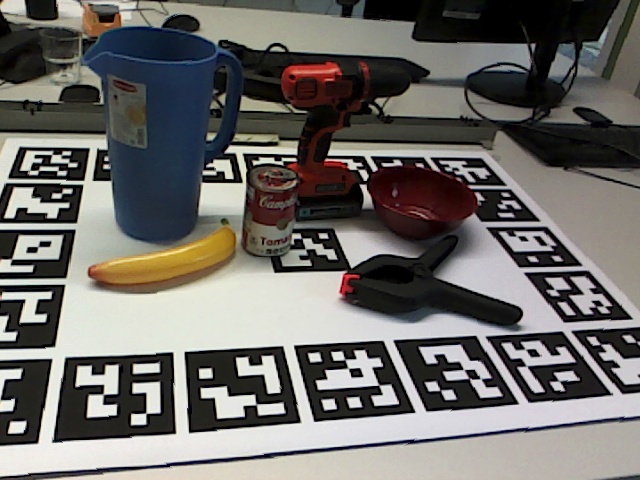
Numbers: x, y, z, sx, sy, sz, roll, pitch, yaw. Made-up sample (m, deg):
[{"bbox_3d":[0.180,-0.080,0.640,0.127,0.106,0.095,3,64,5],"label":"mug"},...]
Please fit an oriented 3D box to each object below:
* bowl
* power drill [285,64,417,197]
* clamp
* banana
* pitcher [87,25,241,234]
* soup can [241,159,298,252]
[{"bbox_3d":[0.141,-0.053,0.892,0.161,0.055,0.162,6,36,-5],"label":"bowl"},{"bbox_3d":[0.034,-0.153,0.864,0.184,0.187,0.058,-4,36,-19],"label":"power drill"},{"bbox_3d":[0.118,0.041,0.753,0.202,0.036,0.166,-3,40,-17],"label":"clamp"},{"bbox_3d":[-0.179,0.014,0.740,0.196,0.039,0.075,-18,34,-36],"label":"banana"},{"bbox_3d":[-0.187,-0.136,0.771,0.188,0.242,0.134,-18,39,-34],"label":"pitcher"},{"bbox_3d":[-0.066,-0.044,0.792,0.068,0.102,0.068,5,26,-3],"label":"soup can"}]
